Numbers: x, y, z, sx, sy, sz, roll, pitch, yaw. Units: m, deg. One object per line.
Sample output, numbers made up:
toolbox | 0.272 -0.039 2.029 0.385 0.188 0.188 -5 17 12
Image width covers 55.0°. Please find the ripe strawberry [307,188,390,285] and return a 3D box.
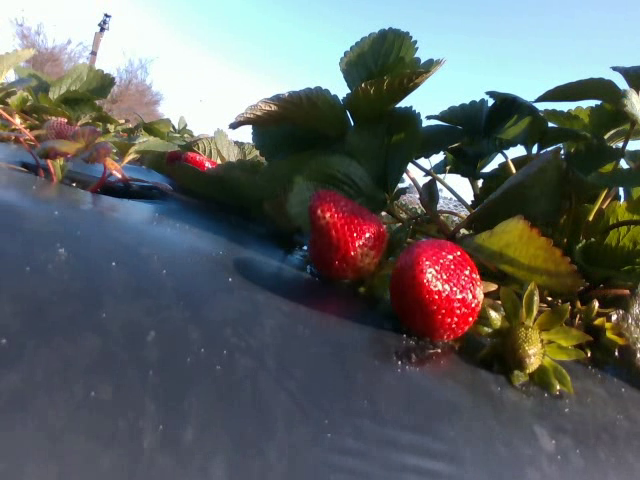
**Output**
ripe strawberry | 0.011 -0.003 0.291 0.039 0.054 0.048 -37 12 36

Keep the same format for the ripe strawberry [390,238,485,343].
ripe strawberry | 0.044 0.015 0.232 0.043 0.039 0.053 45 3 25
